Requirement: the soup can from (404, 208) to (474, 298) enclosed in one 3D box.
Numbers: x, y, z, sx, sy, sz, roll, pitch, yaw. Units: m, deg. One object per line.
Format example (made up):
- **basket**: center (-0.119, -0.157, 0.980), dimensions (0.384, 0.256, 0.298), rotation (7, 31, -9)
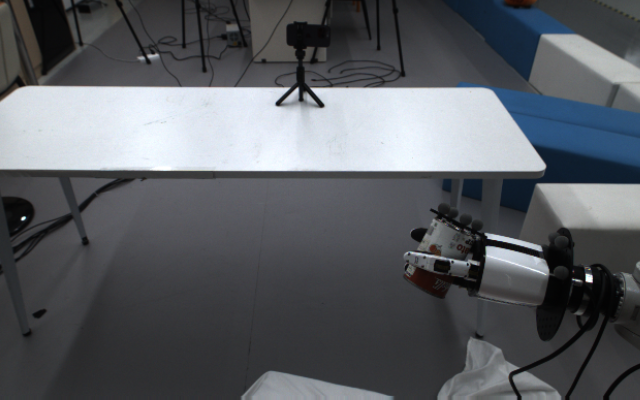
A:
- **soup can**: center (0.175, 0.082, 0.703), dimensions (0.067, 0.101, 0.067), rotation (26, 5, -3)
